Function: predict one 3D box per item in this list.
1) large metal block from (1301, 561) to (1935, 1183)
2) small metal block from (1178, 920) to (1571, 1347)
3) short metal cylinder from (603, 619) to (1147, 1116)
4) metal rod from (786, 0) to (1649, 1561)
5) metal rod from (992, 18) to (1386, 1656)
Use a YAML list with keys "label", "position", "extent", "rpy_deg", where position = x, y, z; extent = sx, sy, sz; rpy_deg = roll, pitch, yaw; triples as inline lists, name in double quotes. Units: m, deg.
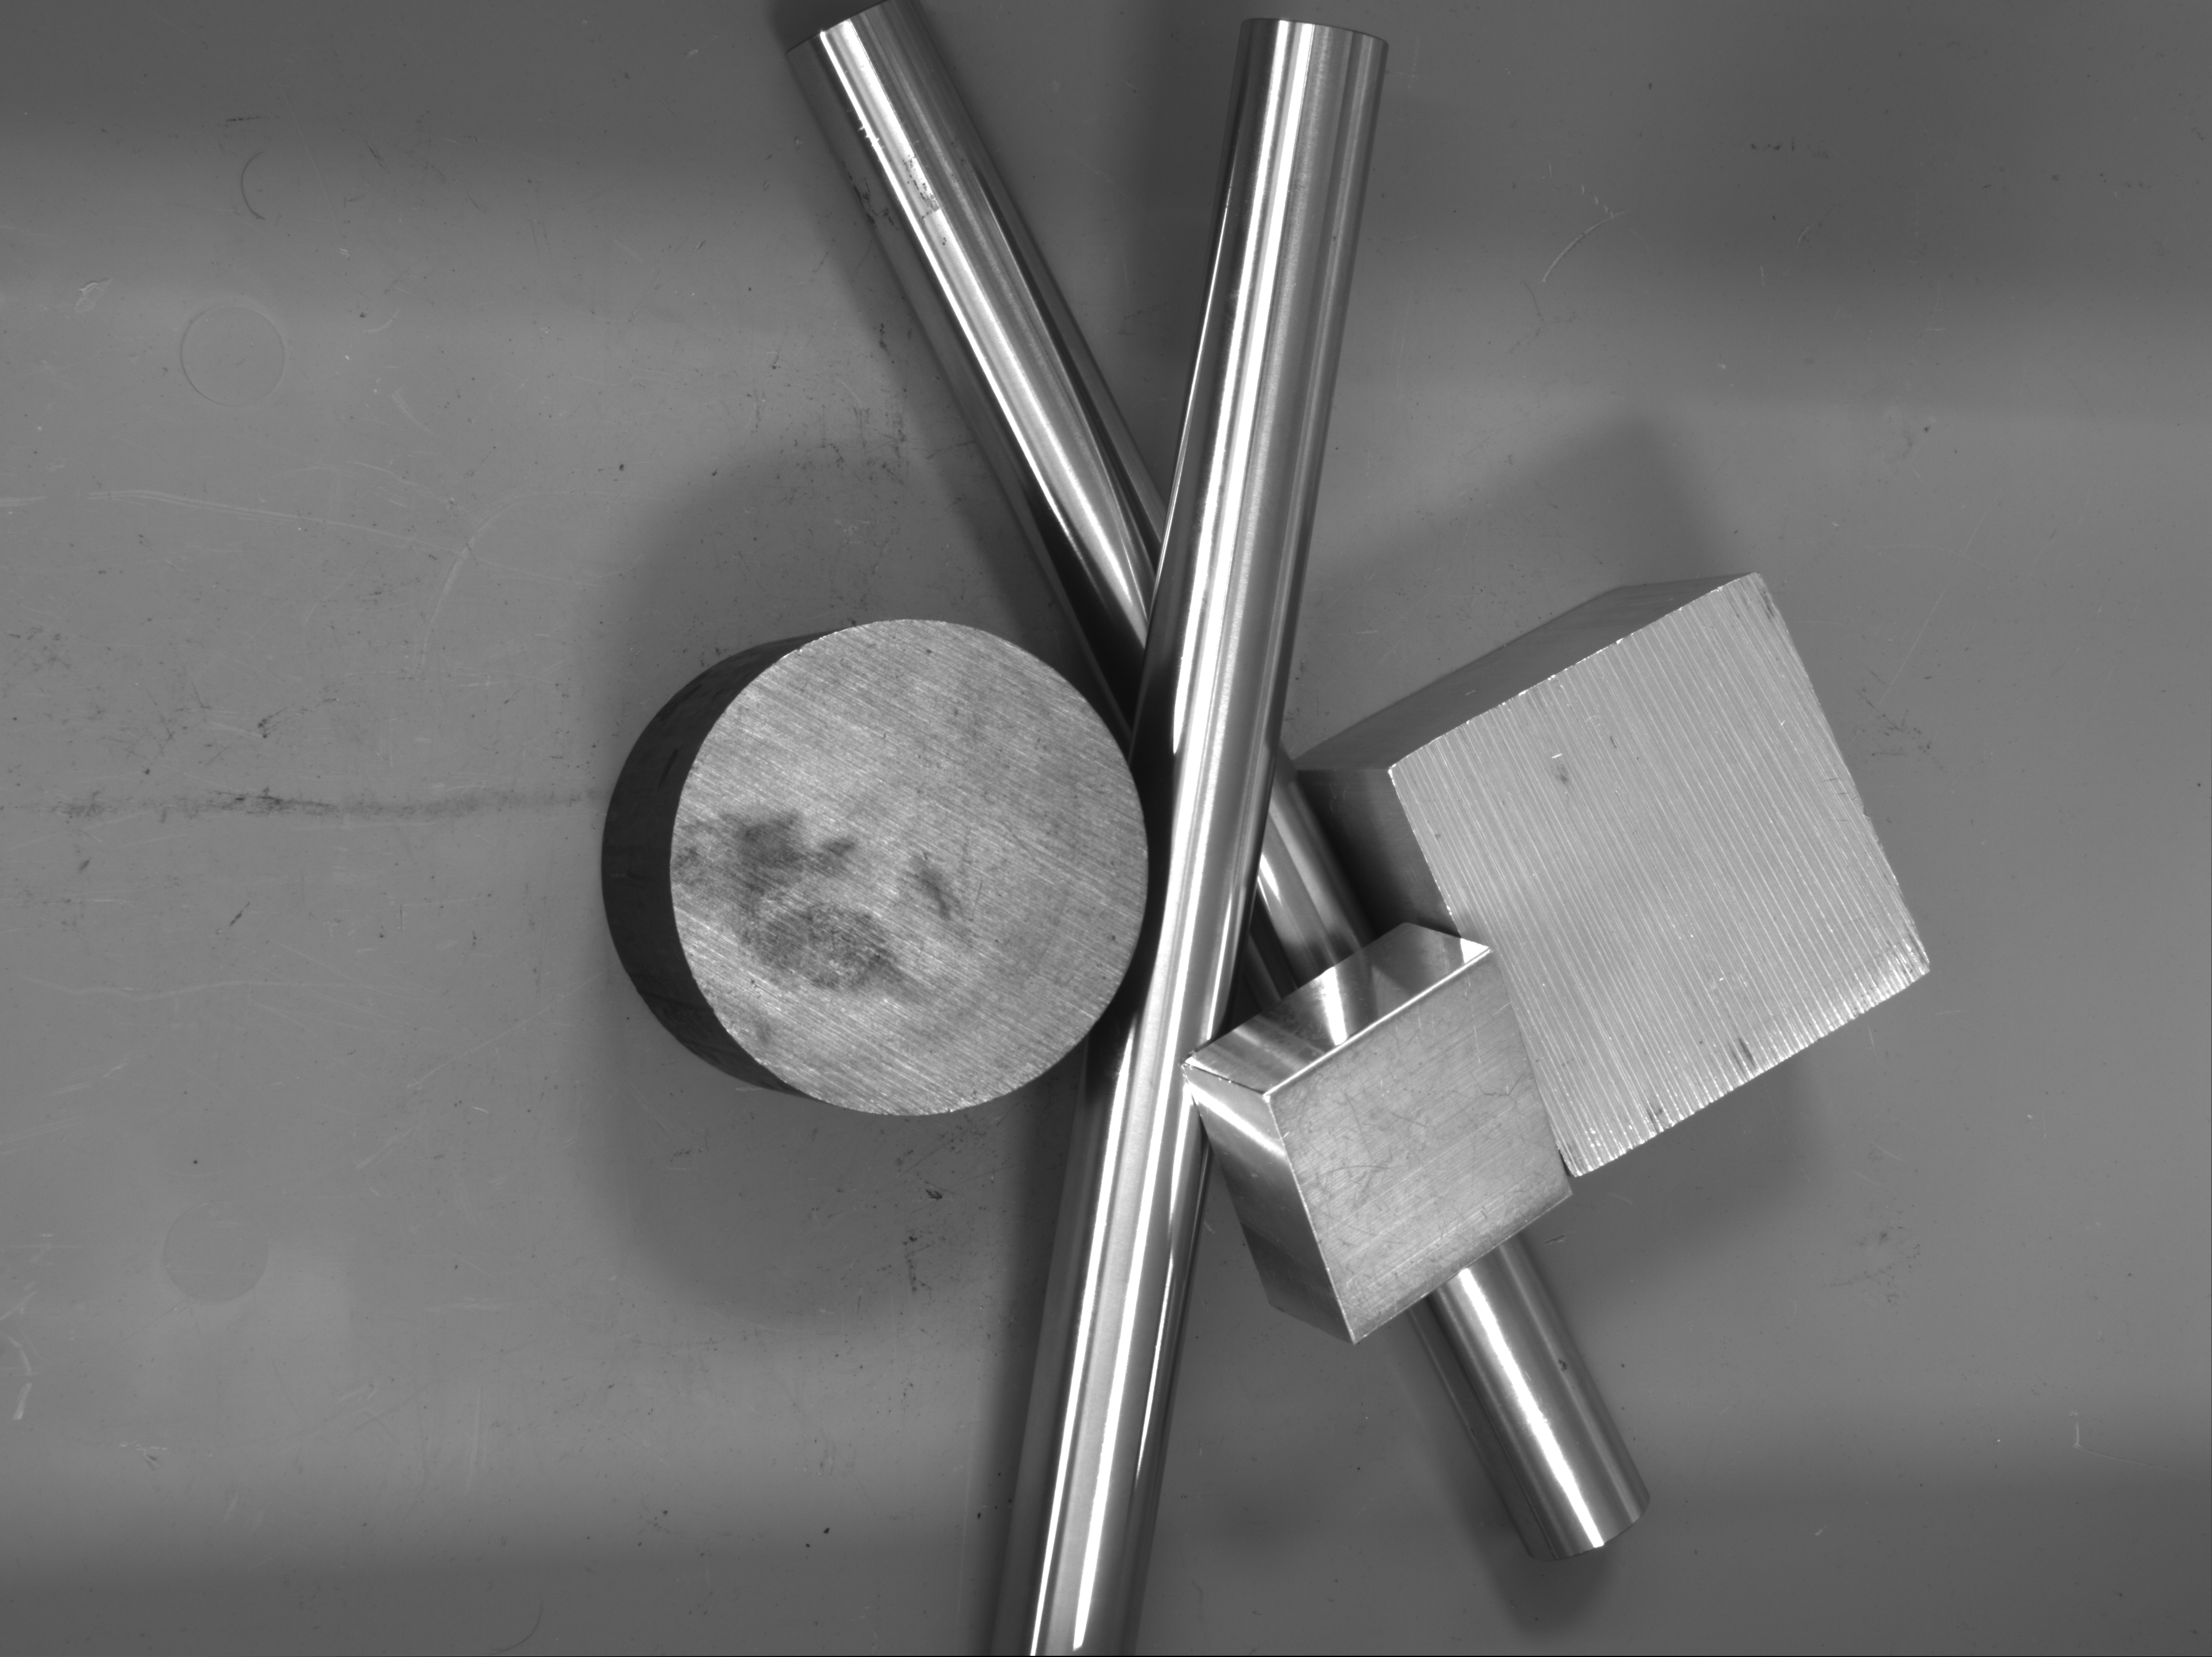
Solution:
- label: "large metal block"
  position: [0.089, 0.007, 0.660]
  extent: [0.080, 0.050, 0.080]
  rpy_deg: [-29, 99, -18]
- label: "small metal block"
  position: [0.046, 0.051, 0.625]
  extent: [0.050, 0.025, 0.050]
  rpy_deg: [-31, 115, -25]
- label: "short metal cylinder"
  position: [-0.039, 0.006, 0.615]
  extent: [0.080, 0.050, 0.080]
  rpy_deg: [0, 90, -20]
- label: "metal rod"
  position: [0.022, -0.005, 0.650]
  extent: [0.025, 0.025, 0.300]
  rpy_deg: [-29, 100, -17]
- label: "metal rod"
  position: [0.012, 0.015, 0.626]
  extent: [0.025, 0.025, 0.300]
  rpy_deg: [7, 95, -20]
